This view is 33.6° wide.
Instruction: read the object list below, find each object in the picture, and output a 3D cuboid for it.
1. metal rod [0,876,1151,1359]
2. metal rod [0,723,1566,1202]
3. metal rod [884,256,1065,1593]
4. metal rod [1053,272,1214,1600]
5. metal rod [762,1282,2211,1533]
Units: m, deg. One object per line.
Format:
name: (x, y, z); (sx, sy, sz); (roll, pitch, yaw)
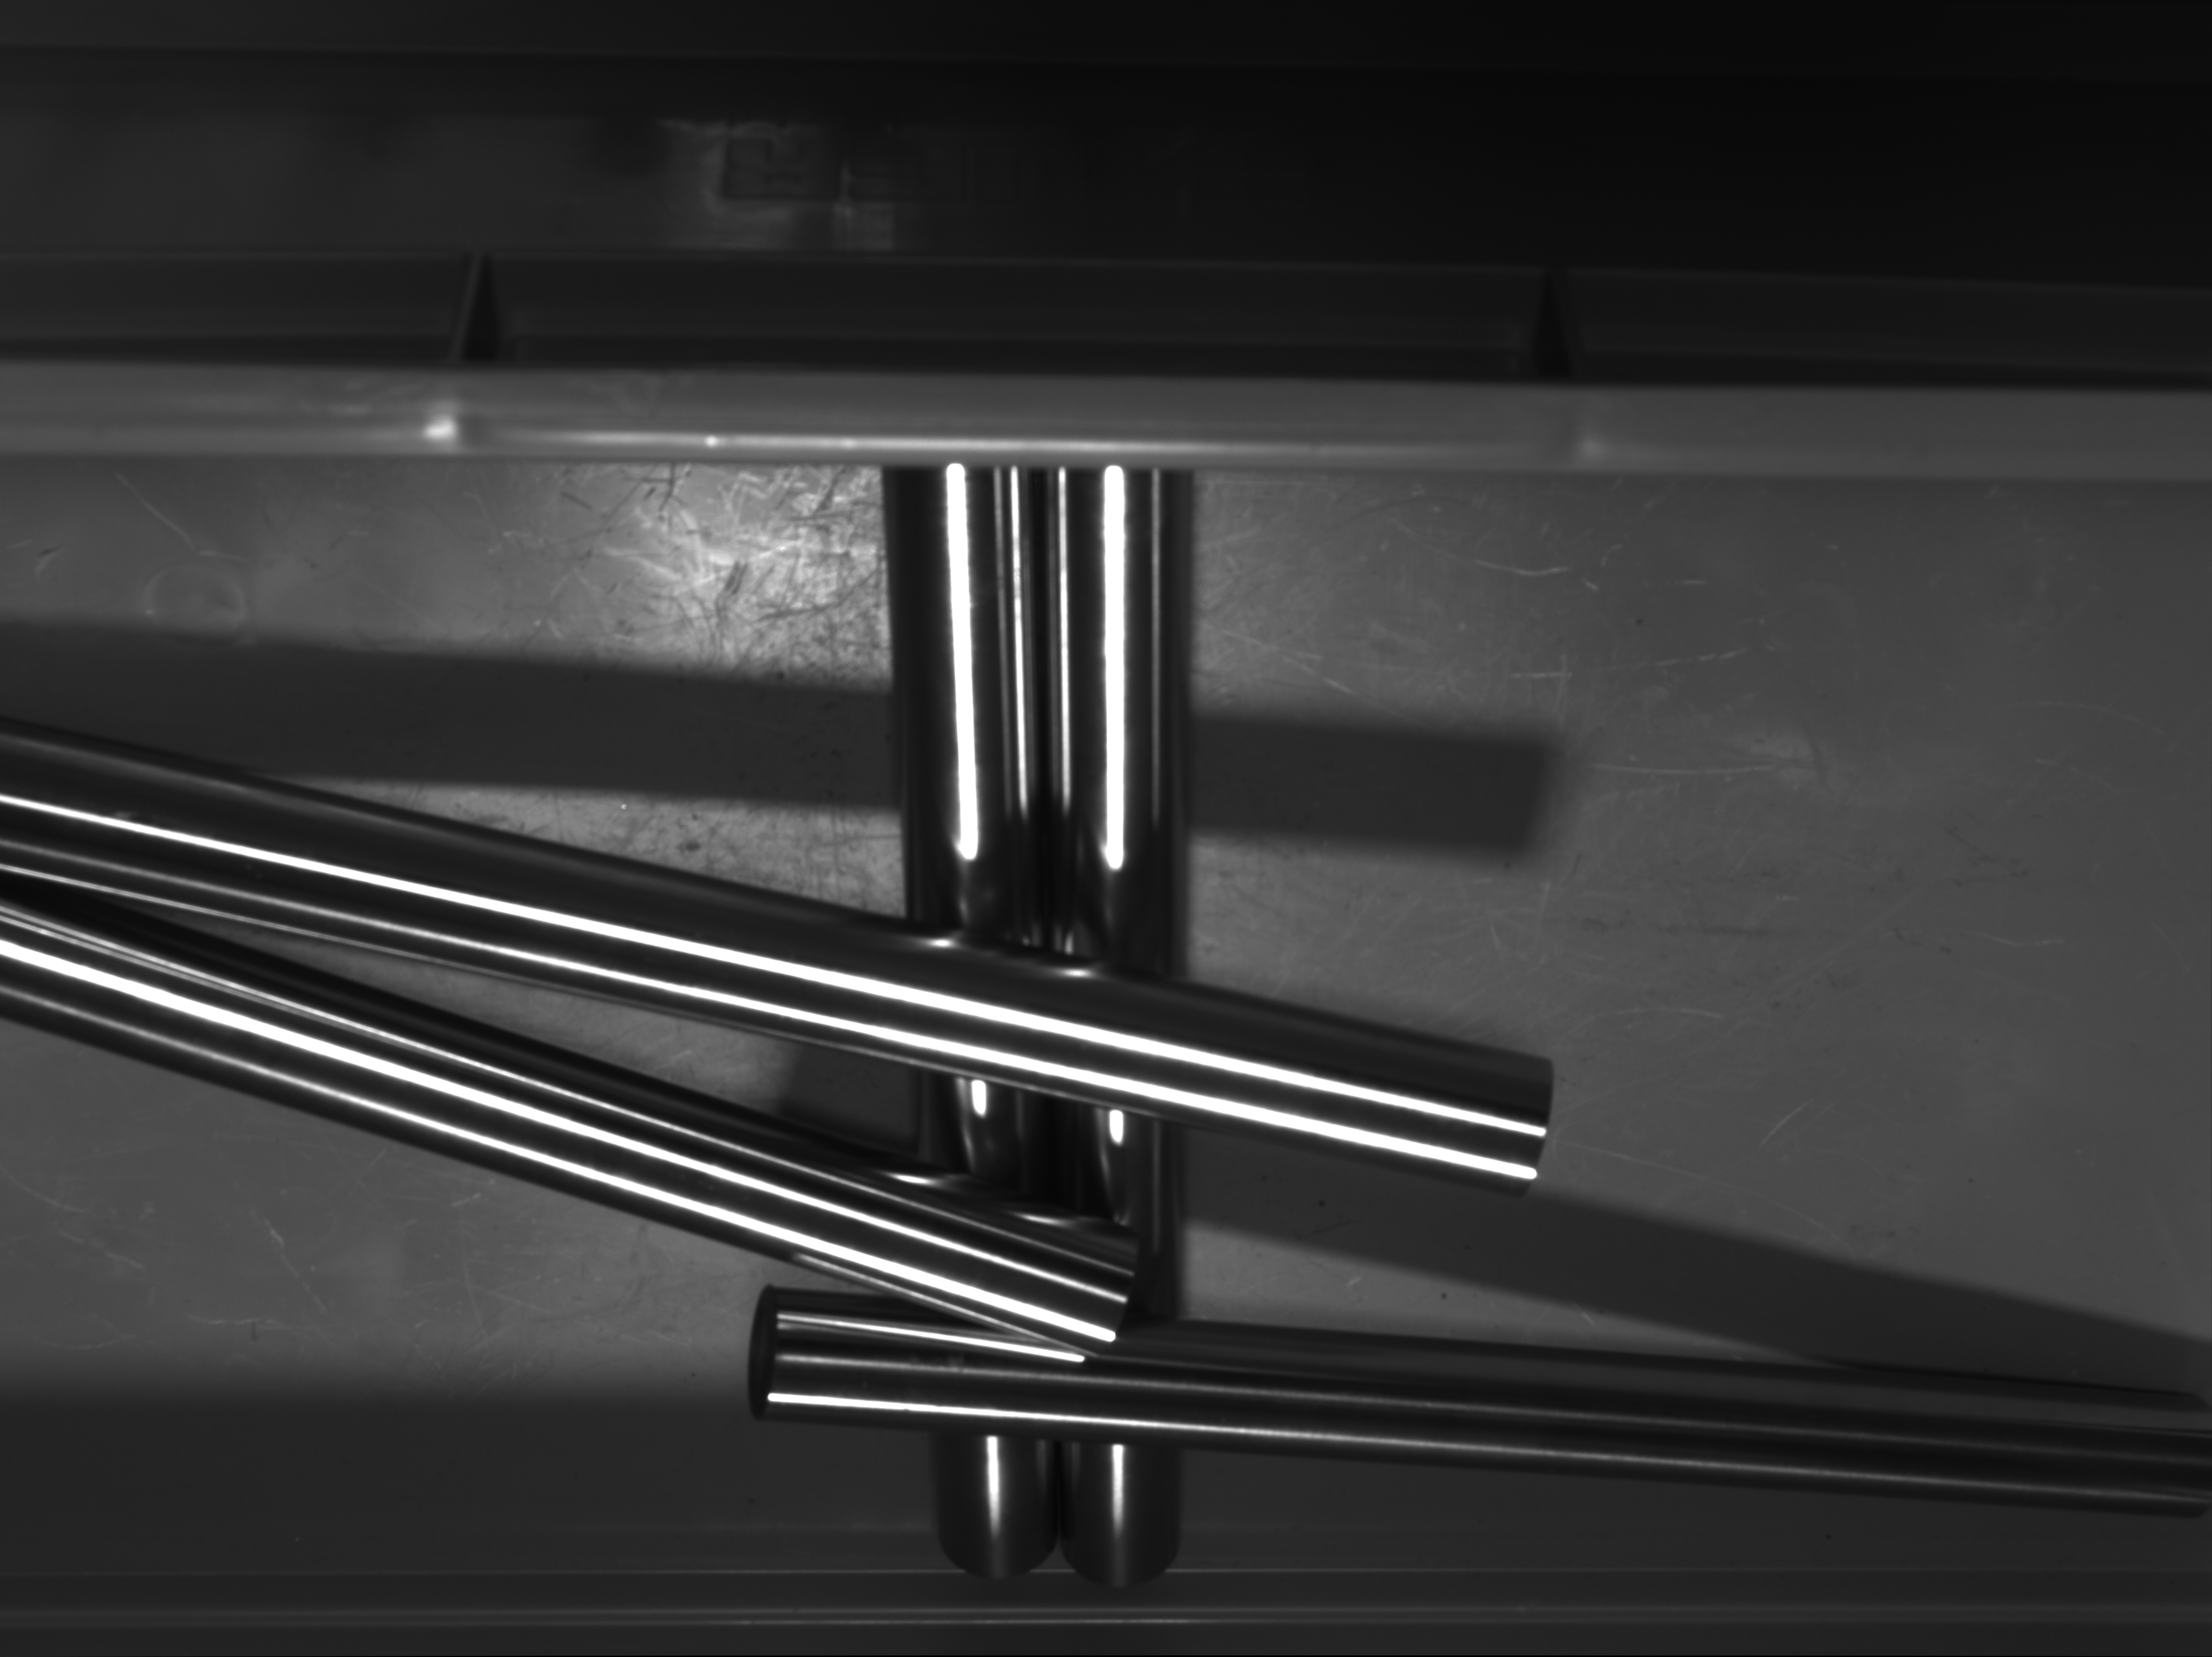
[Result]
metal rod: (-0.136, 0.038, 0.648); (0.300, 0.025, 0.025); (19, 127, -10)
metal rod: (-0.070, 0.020, 0.626); (0.300, 0.025, 0.025); (12, 129, -3)
metal rod: (-0.021, 0.033, 0.662); (0.025, 0.025, 0.300); (-1, 130, -1)
metal rod: (0.005, 0.035, 0.665); (0.025, 0.025, 0.300); (-1, 130, -1)
metal rod: (0.083, 0.114, 0.713); (0.300, 0.025, 0.025); (7, 130, -15)
